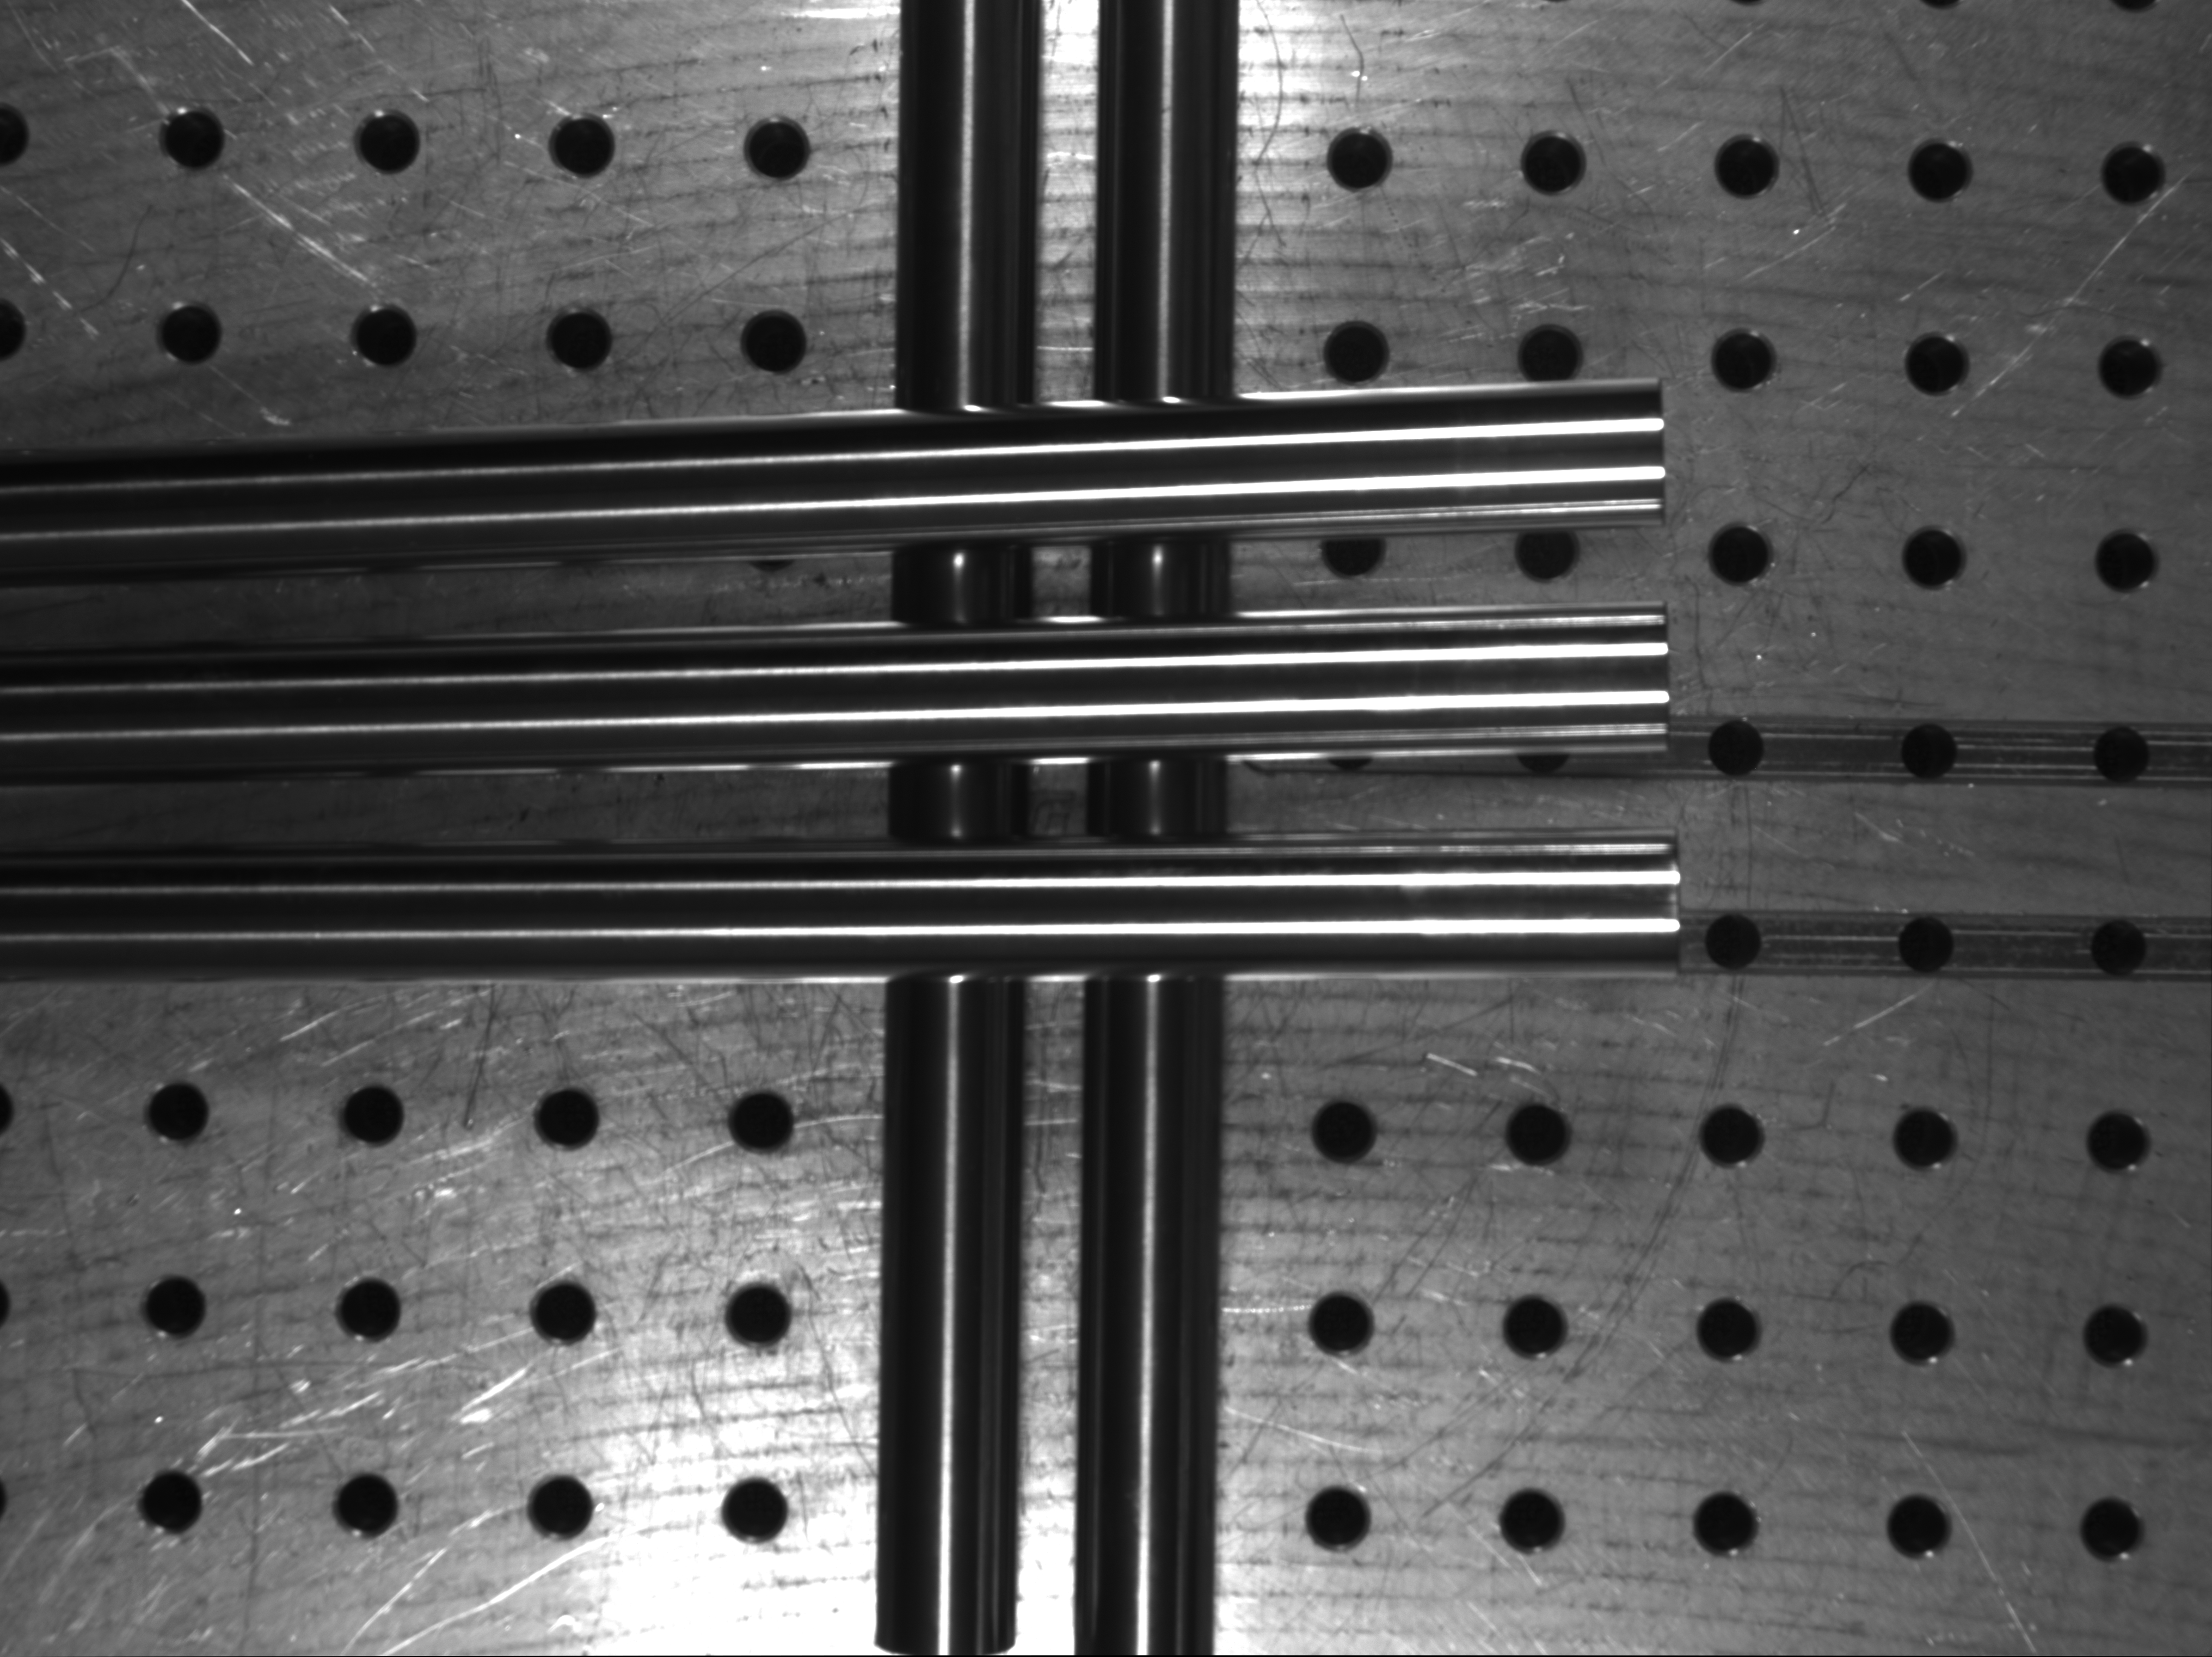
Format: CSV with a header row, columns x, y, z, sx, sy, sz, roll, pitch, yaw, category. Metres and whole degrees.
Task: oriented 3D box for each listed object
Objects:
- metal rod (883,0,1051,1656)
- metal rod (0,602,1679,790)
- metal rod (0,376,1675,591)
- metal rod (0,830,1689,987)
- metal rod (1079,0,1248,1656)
x,y,z,sx,sy,sz,roll,pitch,yaw,category
-0.024,-0.006,0.647,0.025,0.025,0.300,1,90,0,metal rod
-0.054,-0.022,0.626,0.300,0.025,0.025,-1,90,8,metal rod
-0.055,-0.058,0.626,0.300,0.025,0.025,-2,90,8,metal rod
-0.052,0.014,0.626,0.300,0.025,0.025,-1,90,8,metal rod
0.010,-0.002,0.648,0.025,0.025,0.300,1,90,0,metal rod
